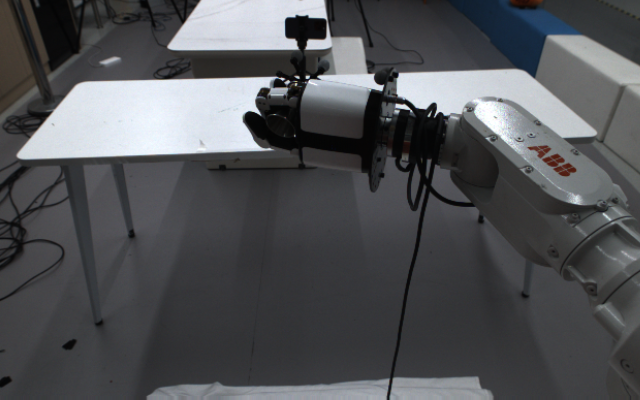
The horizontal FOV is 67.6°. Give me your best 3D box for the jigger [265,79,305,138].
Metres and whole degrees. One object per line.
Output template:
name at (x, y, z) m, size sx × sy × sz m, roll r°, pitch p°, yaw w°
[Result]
jigger at (-0.039, -0.127, 0.654) m, size 0.043 × 0.043 × 0.071 m, roll 15°, pitch 58°, yaw 18°
